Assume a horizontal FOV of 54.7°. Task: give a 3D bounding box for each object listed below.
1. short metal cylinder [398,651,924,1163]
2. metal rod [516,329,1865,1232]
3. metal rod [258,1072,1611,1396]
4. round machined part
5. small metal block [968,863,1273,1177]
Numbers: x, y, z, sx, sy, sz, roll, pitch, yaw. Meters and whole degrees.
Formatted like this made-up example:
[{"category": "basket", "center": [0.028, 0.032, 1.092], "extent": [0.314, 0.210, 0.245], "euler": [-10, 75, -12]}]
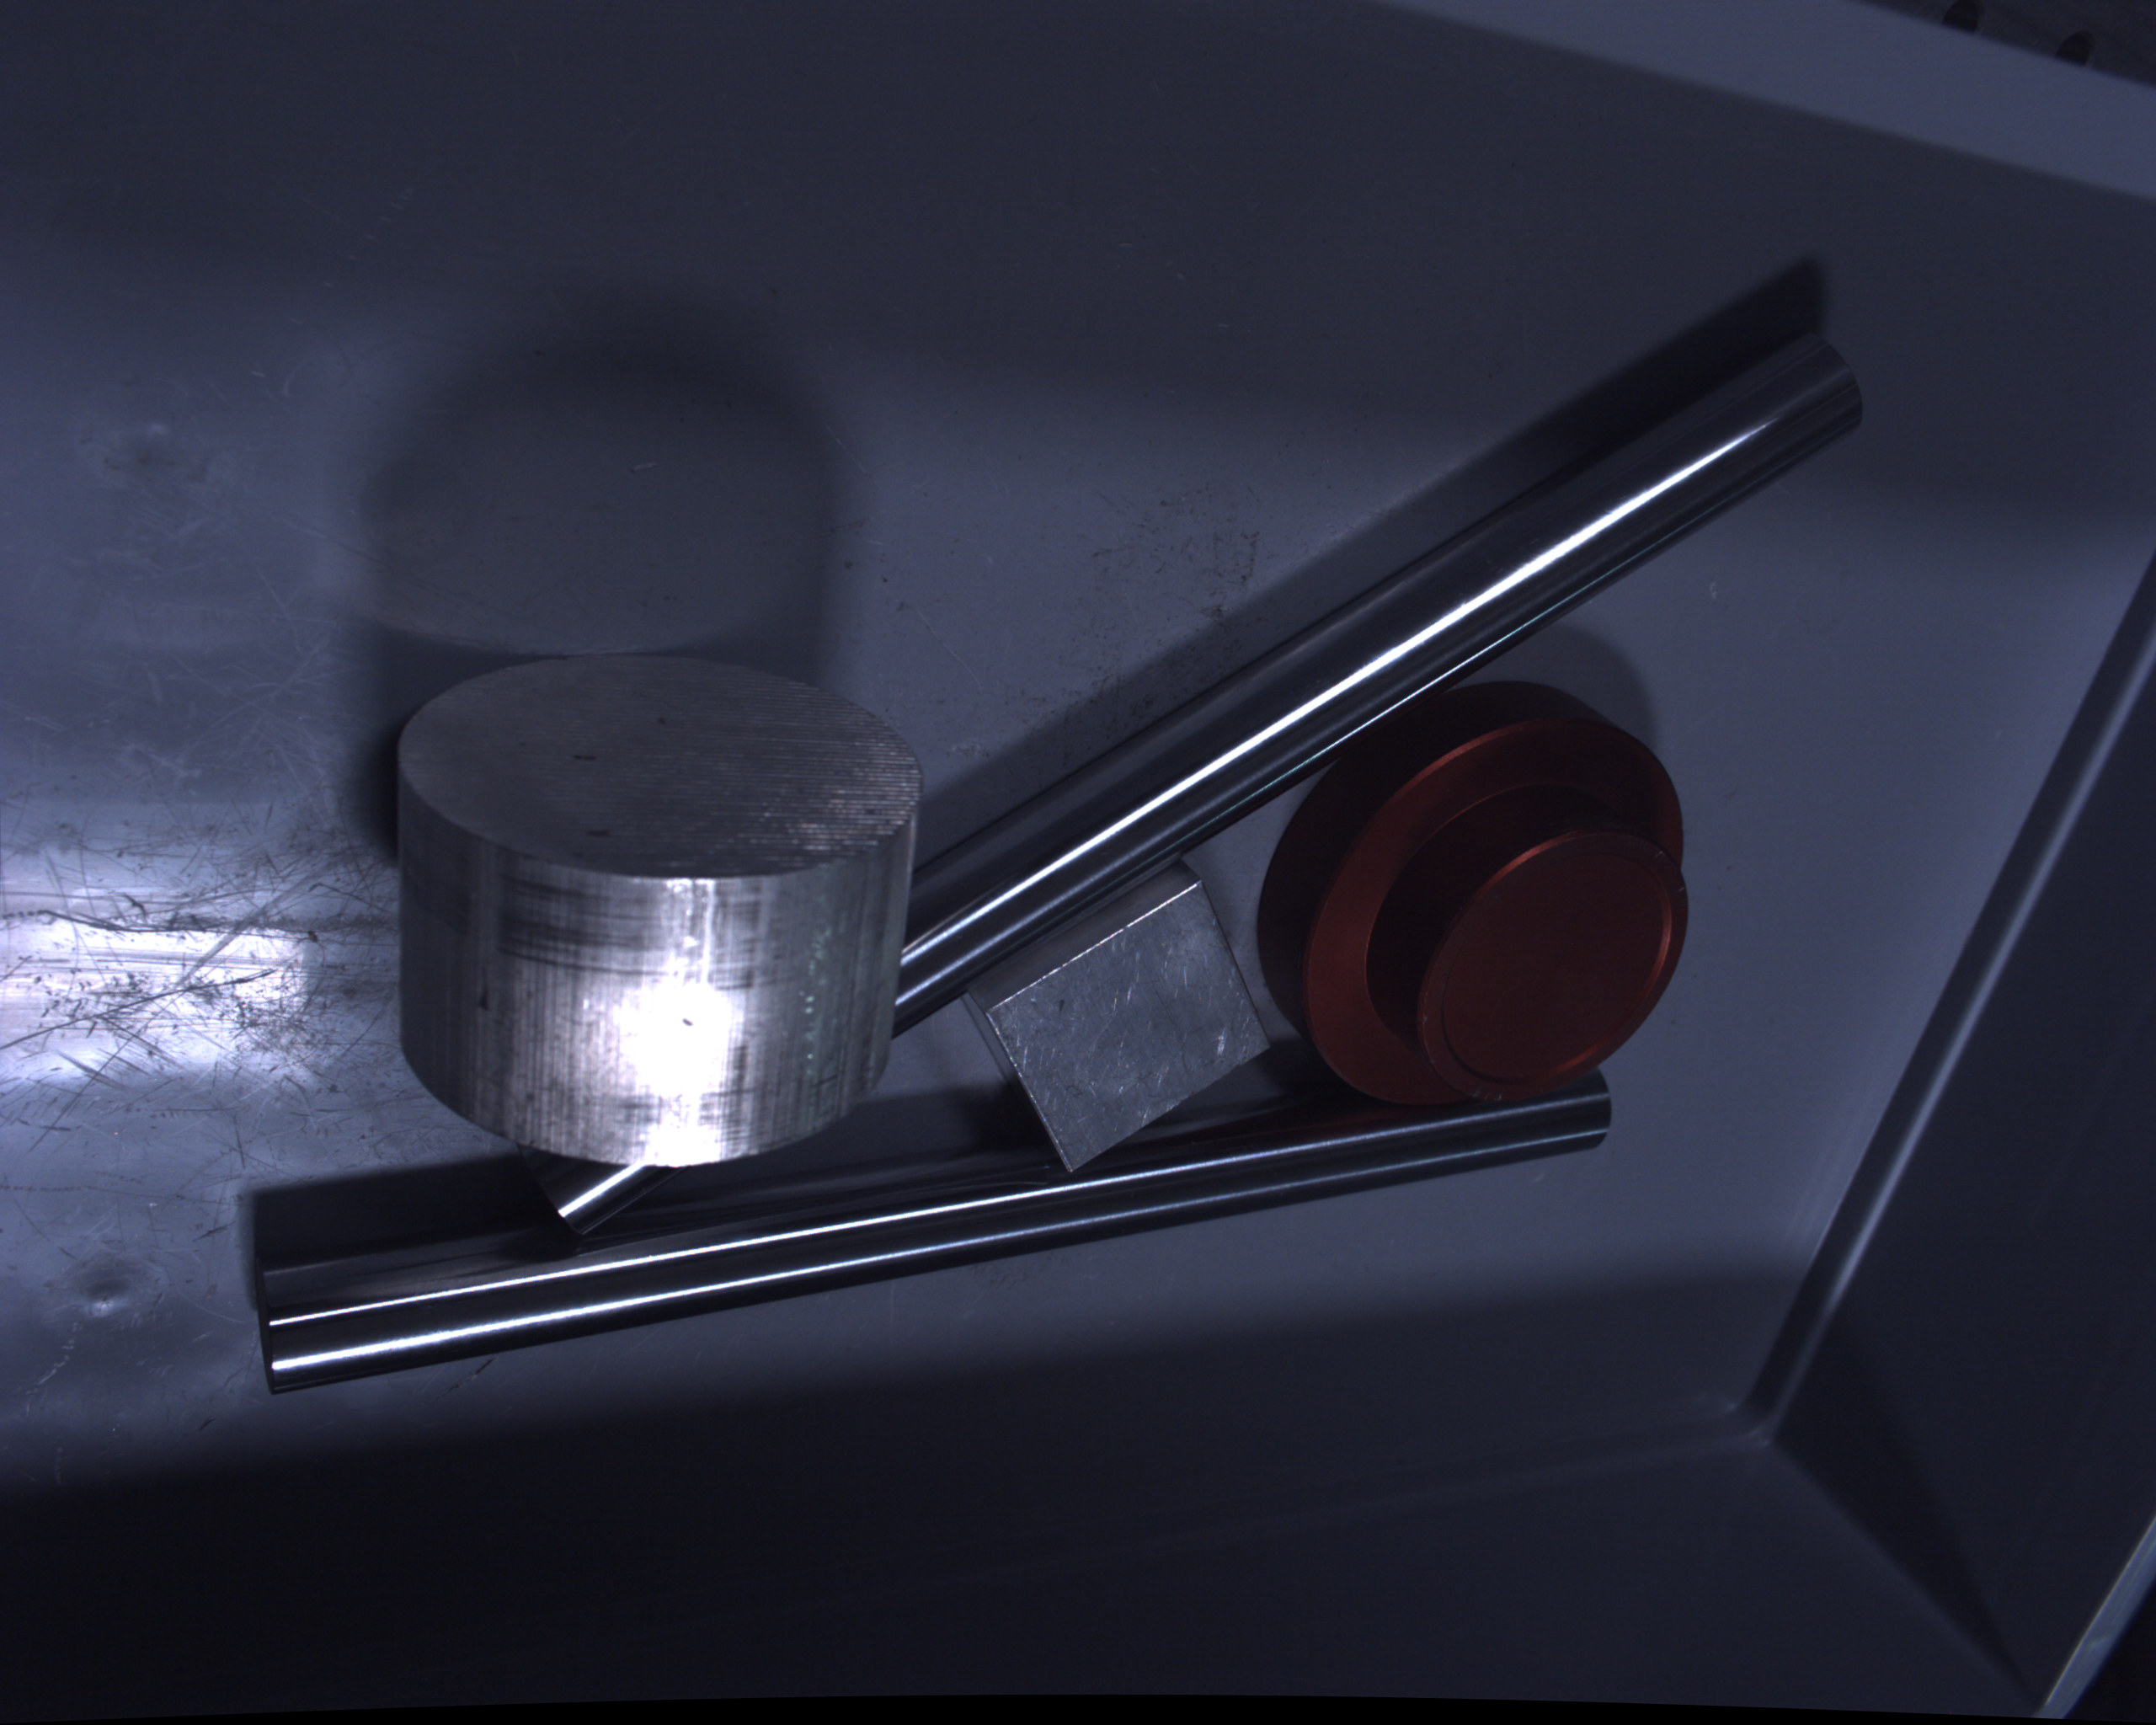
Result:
[{"category": "short metal cylinder", "center": [-0.068, 0.005, 0.339], "extent": [0.081, 0.080, 0.050], "euler": [-5, 121, -26]}, {"category": "metal rod", "center": [0.027, -0.020, 0.411], "extent": [0.301, 0.025, 0.025], "euler": [-32, 129, -8]}, {"category": "metal rod", "center": [-0.013, 0.071, 0.446], "extent": [0.303, 0.025, 0.025], "euler": [-5, 121, -26]}, {"category": "round machined part", "center": [0.093, 0.014, 0.455], "extent": [0.099, 0.042, 0.097], "euler": [-14, 125, -21]}, {"category": "small metal block", "center": [0.006, 0.029, 0.429], "extent": [0.050, 0.025, 0.050], "euler": [-31, 129, -8]}]
